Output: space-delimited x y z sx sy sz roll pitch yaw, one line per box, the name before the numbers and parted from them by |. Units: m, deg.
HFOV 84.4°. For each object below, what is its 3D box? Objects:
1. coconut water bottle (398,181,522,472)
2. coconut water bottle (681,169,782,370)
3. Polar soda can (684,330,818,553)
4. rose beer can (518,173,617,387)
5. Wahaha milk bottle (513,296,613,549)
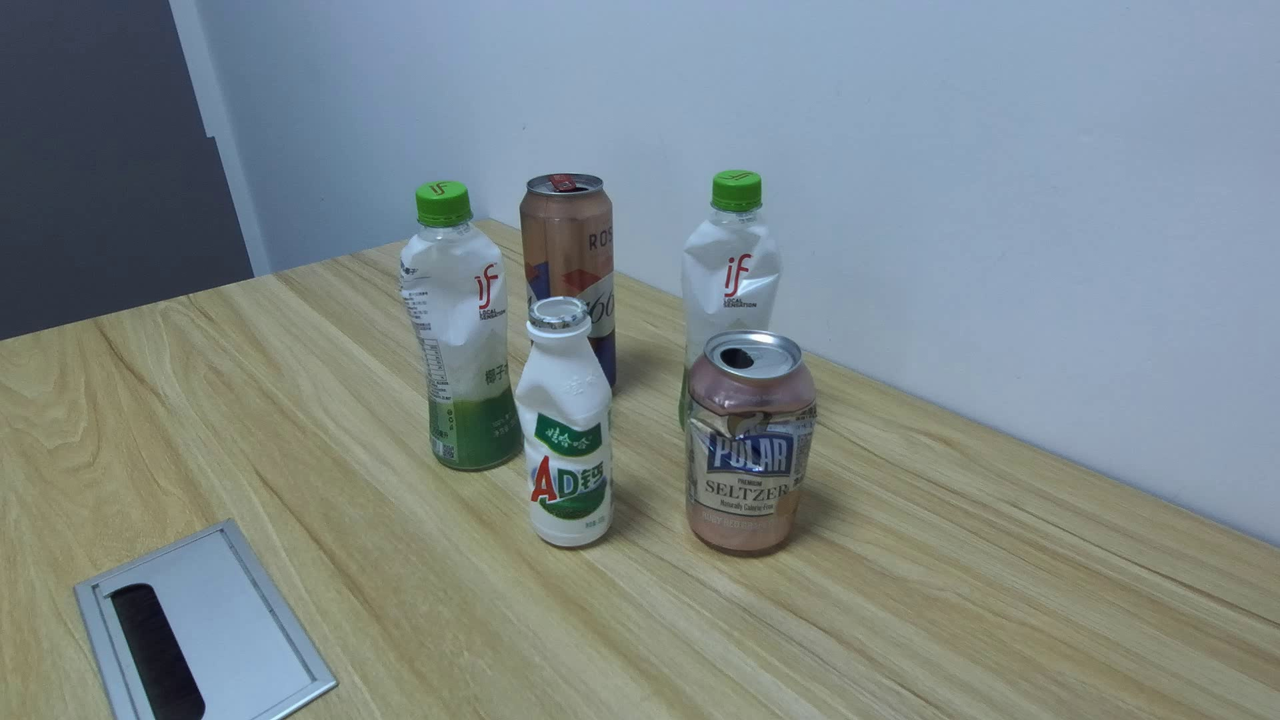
coconut water bottle | -0.117 -0.021 0.465 0.069 0.187 0.069 1 28 0
coconut water bottle | 0.060 -0.031 0.480 0.067 0.187 0.067 1 25 0
Polar soda can | 0.060 0.048 0.412 0.074 0.122 0.067 26 38 37
rose beer can | -0.053 -0.051 0.543 0.068 0.169 0.068 0 27 0
Wahaha milk bottle | -0.043 0.037 0.405 0.056 0.148 0.056 1 30 0
